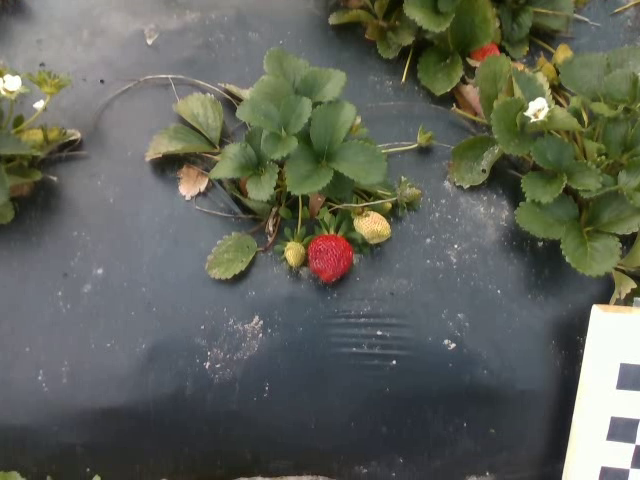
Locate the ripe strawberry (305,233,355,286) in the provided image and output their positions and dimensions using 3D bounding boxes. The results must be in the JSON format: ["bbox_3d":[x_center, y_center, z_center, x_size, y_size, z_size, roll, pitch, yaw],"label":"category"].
[{"bbox_3d":[0.009,0.021,0.536,0.047,0.046,0.059,-1,33,7],"label":"ripe strawberry"}]
